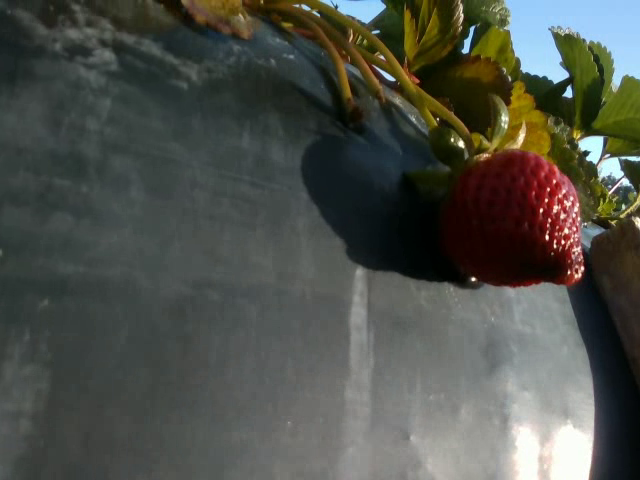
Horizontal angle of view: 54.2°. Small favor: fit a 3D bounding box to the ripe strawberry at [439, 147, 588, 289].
[{"bbox_3d":[0.049,-0.002,0.149,0.040,0.044,0.037,6,-45,-46],"label":"ripe strawberry"}]
